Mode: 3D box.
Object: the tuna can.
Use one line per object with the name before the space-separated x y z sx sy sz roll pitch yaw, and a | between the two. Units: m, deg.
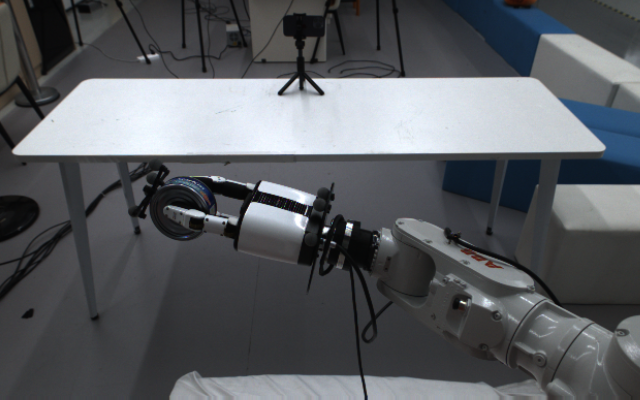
tuna can | -0.186 0.013 0.667 0.085 0.085 0.034 4 22 3
